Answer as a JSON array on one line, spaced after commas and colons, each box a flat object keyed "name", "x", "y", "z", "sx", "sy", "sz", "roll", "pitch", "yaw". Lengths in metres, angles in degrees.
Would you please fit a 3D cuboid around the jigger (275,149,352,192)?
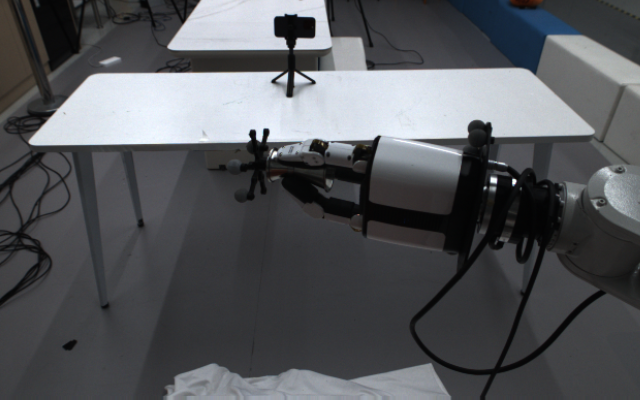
[{"name": "jigger", "x": -0.014, "y": -0.039, "z": 0.535, "sx": 0.071, "sy": 0.043, "sz": 0.043, "roll": 8, "pitch": 35, "yaw": 15}]
